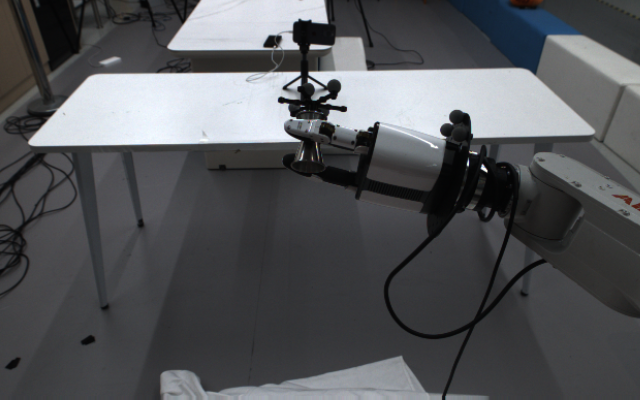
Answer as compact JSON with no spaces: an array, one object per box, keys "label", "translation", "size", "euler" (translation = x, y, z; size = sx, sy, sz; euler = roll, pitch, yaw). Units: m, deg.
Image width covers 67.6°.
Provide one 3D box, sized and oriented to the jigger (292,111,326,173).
[{"label":"jigger","translation":[-0.014,-0.074,0.609],"size":[0.043,0.043,0.071],"euler":[3,75,2]}]
